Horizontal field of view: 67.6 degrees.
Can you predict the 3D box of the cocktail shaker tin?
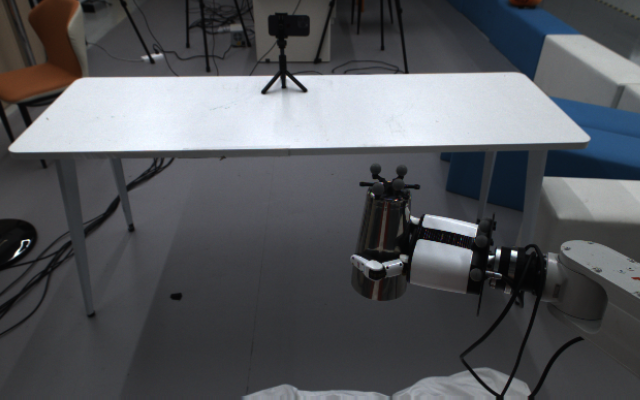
[{"bbox_3d":[0.101,0.060,0.757,0.093,0.170,0.093,2,28,-1],"label":"cocktail shaker tin"}]
